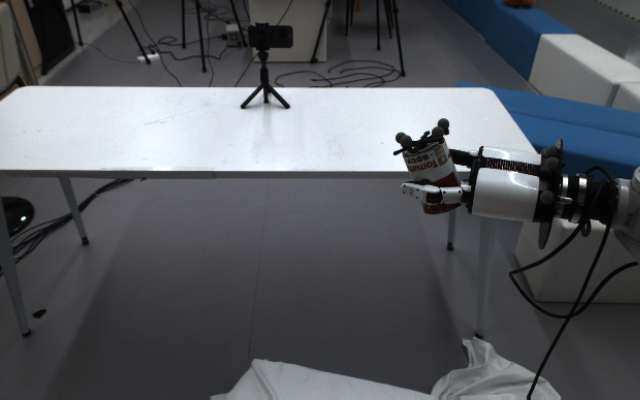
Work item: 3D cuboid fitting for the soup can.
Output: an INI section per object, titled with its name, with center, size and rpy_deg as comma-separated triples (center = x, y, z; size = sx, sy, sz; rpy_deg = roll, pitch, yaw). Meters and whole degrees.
[soup can]
center = 0.174, -0.039, 0.735
size = 0.067, 0.101, 0.067
rpy_deg = -23, 16, 7
